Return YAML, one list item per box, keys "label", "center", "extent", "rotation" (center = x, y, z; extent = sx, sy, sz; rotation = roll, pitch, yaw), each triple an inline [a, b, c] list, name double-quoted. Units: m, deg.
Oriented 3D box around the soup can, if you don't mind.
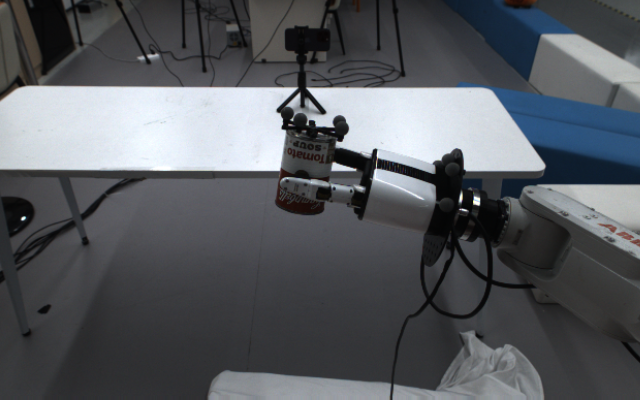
- label: "soup can"
  center: [-0.018, -0.040, 0.636]
  extent: [0.067, 0.101, 0.067]
  rotation: [9, 20, -3]
